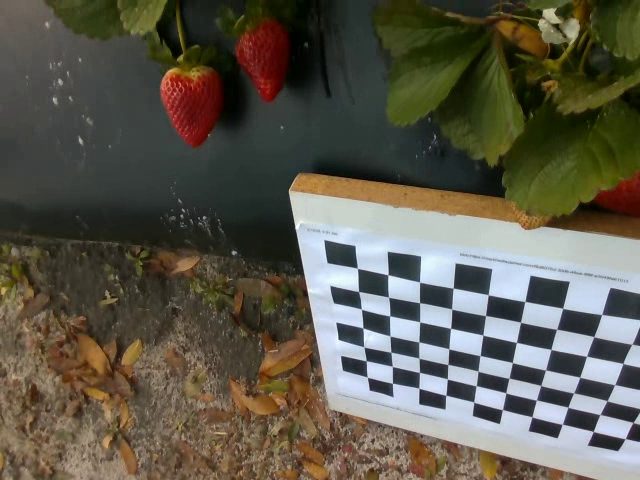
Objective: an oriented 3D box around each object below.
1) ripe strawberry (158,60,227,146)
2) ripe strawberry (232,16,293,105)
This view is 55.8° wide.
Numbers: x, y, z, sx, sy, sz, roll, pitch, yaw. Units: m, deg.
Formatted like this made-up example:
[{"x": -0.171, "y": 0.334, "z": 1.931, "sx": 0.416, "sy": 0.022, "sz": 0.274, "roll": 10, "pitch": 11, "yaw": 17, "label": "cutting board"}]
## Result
[{"x": -0.090, "y": -0.093, "z": 0.420, "sx": 0.050, "sy": 0.061, "sz": 0.045, "roll": 4, "pitch": 7, "yaw": 29, "label": "ripe strawberry"}, {"x": -0.039, "y": -0.113, "z": 0.383, "sx": 0.042, "sy": 0.053, "sz": 0.034, "roll": 0, "pitch": 8, "yaw": 33, "label": "ripe strawberry"}]
